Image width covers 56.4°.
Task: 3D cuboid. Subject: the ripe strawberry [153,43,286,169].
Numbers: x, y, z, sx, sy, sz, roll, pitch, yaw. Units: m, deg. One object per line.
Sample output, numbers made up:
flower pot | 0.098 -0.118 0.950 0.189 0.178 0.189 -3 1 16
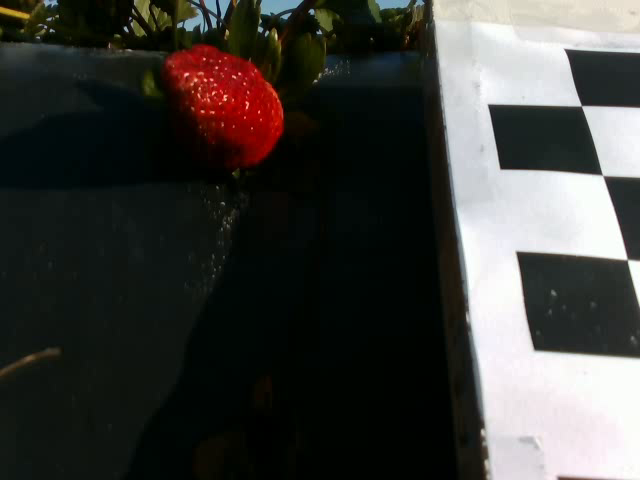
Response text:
ripe strawberry | -0.010 -0.014 0.061 0.015 0.015 0.022 10 3 4
